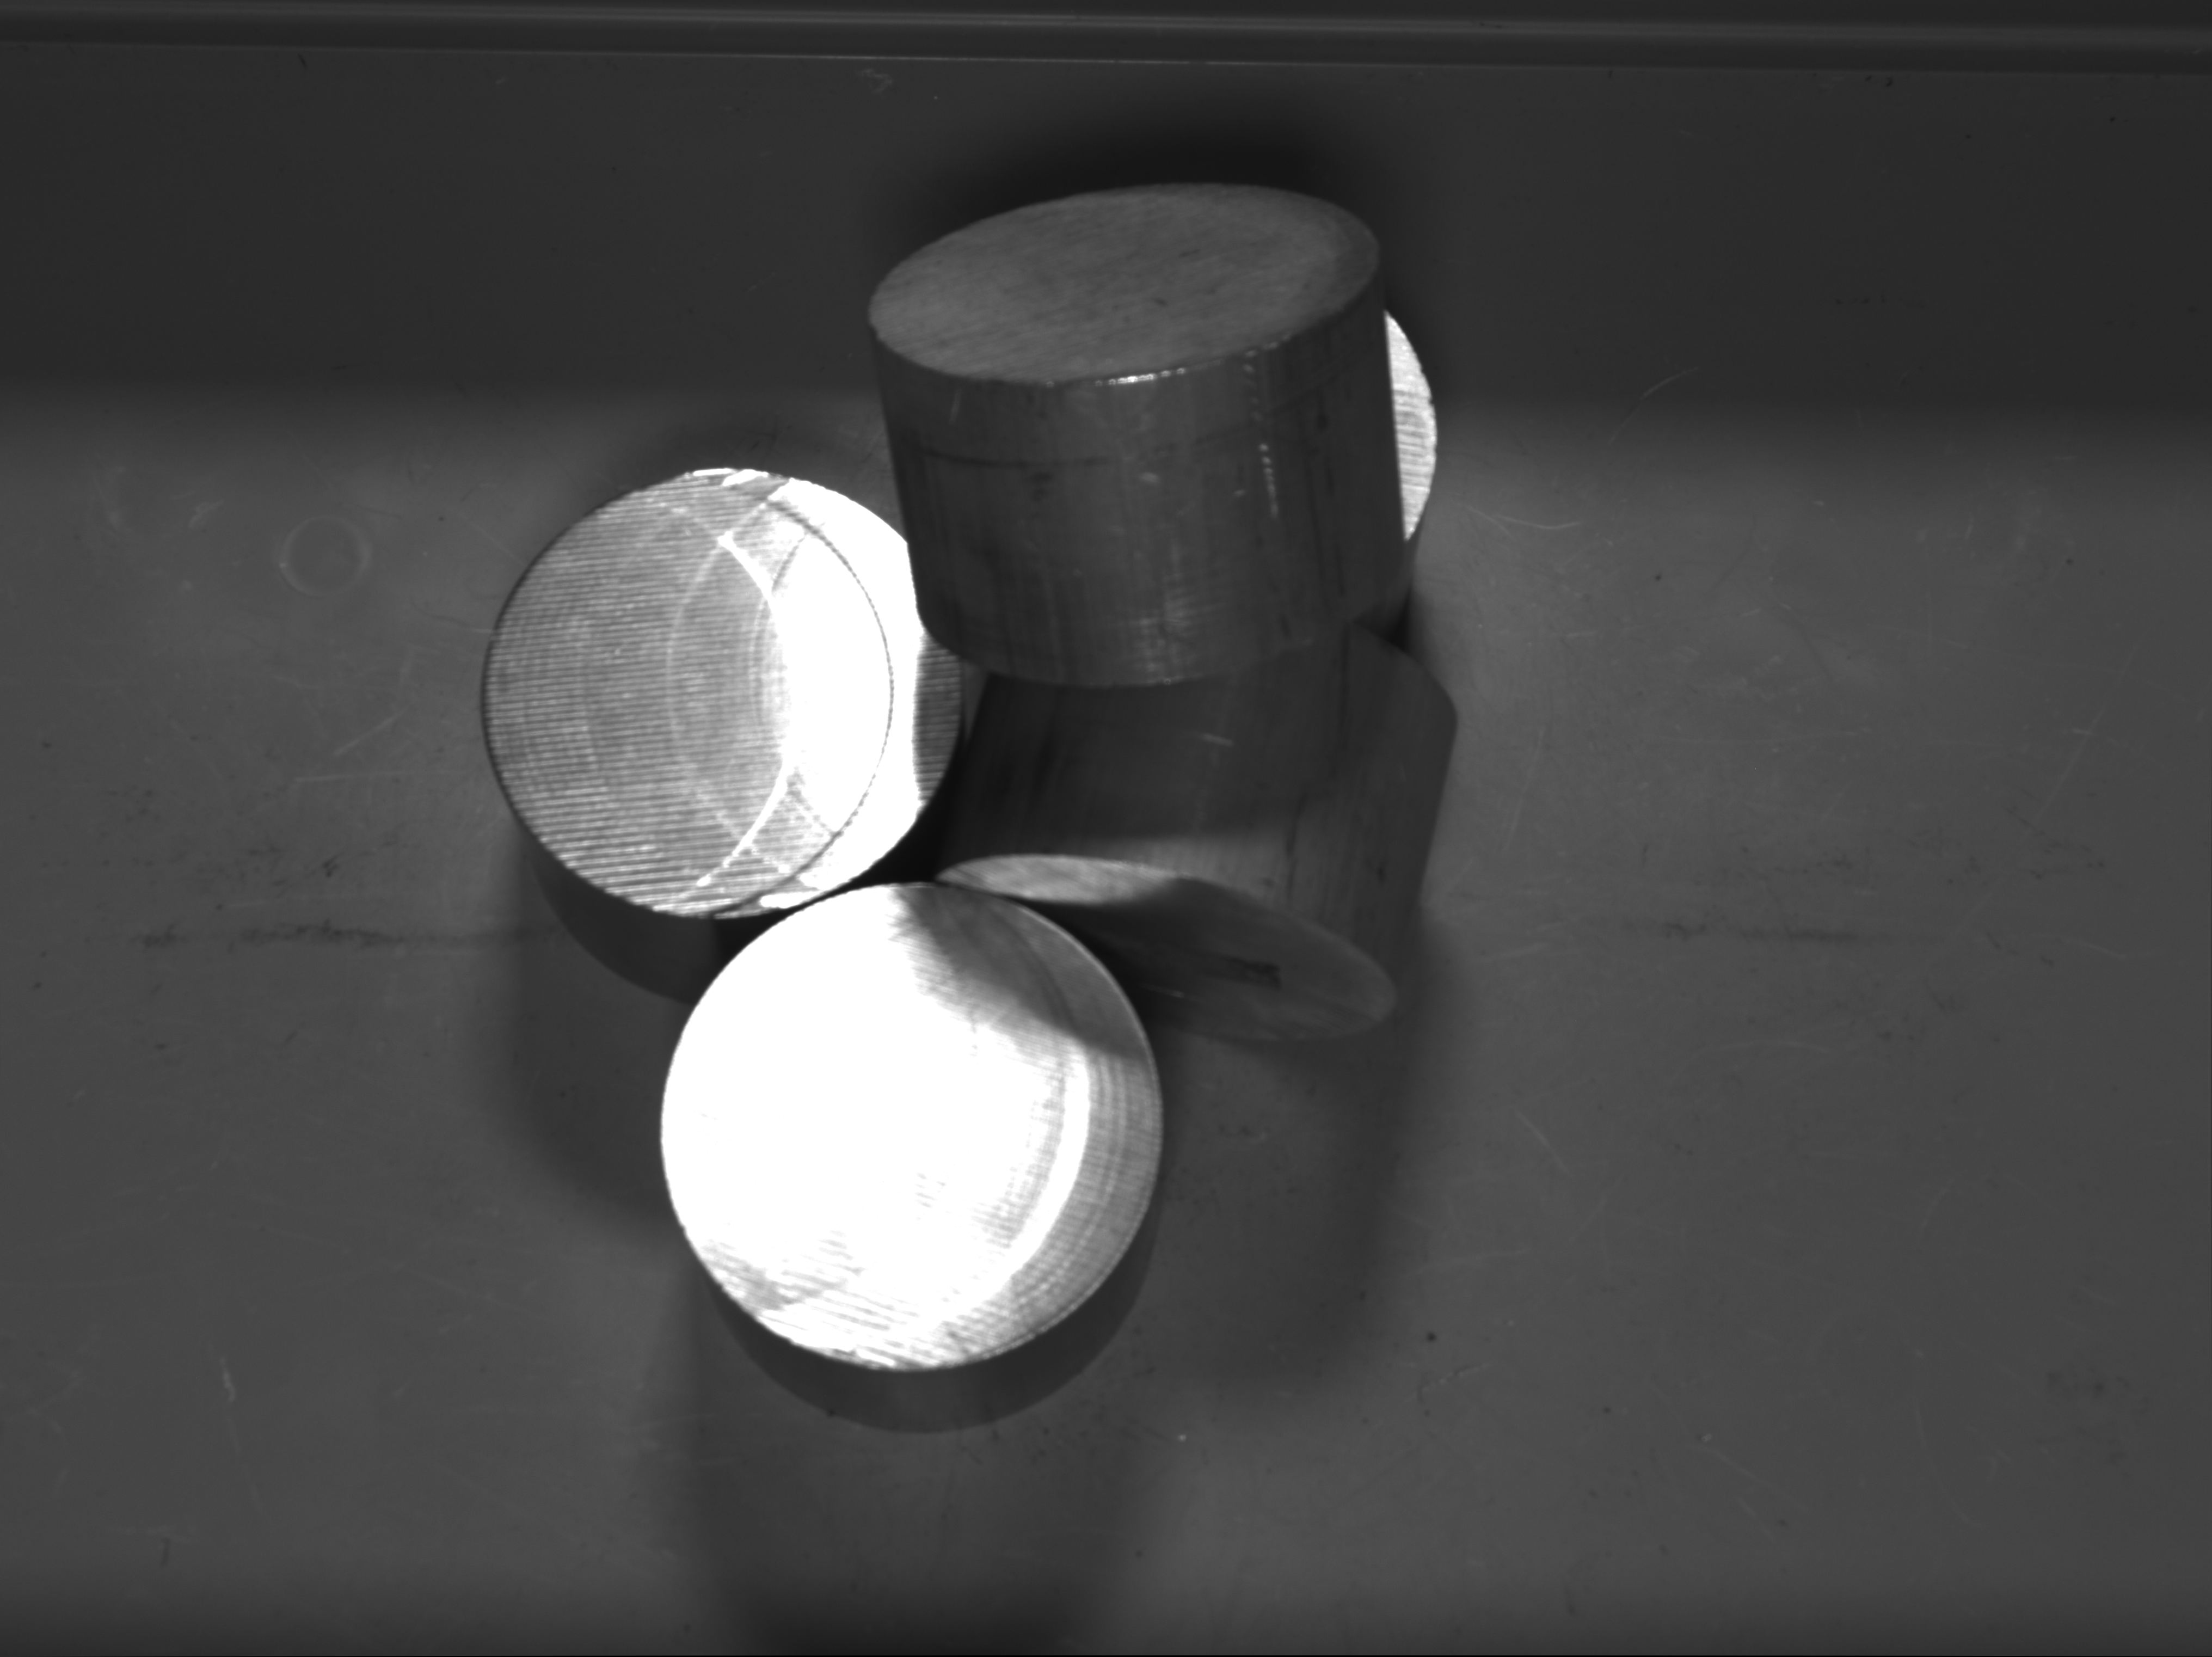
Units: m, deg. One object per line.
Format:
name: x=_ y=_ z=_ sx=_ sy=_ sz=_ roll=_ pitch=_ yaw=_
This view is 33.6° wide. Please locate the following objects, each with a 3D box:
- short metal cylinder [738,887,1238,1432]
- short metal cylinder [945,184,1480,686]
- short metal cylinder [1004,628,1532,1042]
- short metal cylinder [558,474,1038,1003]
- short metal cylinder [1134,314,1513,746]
short metal cylinder: x=-0.019 y=0.056 z=0.609 sx=0.080 sy=0.050 sz=0.080 roll=0 pitch=70 yaw=0
short metal cylinder: x=0.018 y=-0.064 z=0.579 sx=0.080 sy=0.050 sz=0.080 roll=-6 pitch=30 yaw=4
short metal cylinder: x=0.027 y=-0.002 z=0.616 sx=0.080 sy=0.080 sz=0.050 roll=13 pitch=70 yaw=5
short metal cylinder: x=-0.051 y=-0.014 z=0.635 sx=0.080 sy=0.050 sz=0.080 roll=0 pitch=70 yaw=0
short metal cylinder: x=0.030 y=-0.059 z=0.652 sx=0.080 sy=0.050 sz=0.080 roll=0 pitch=70 yaw=0
